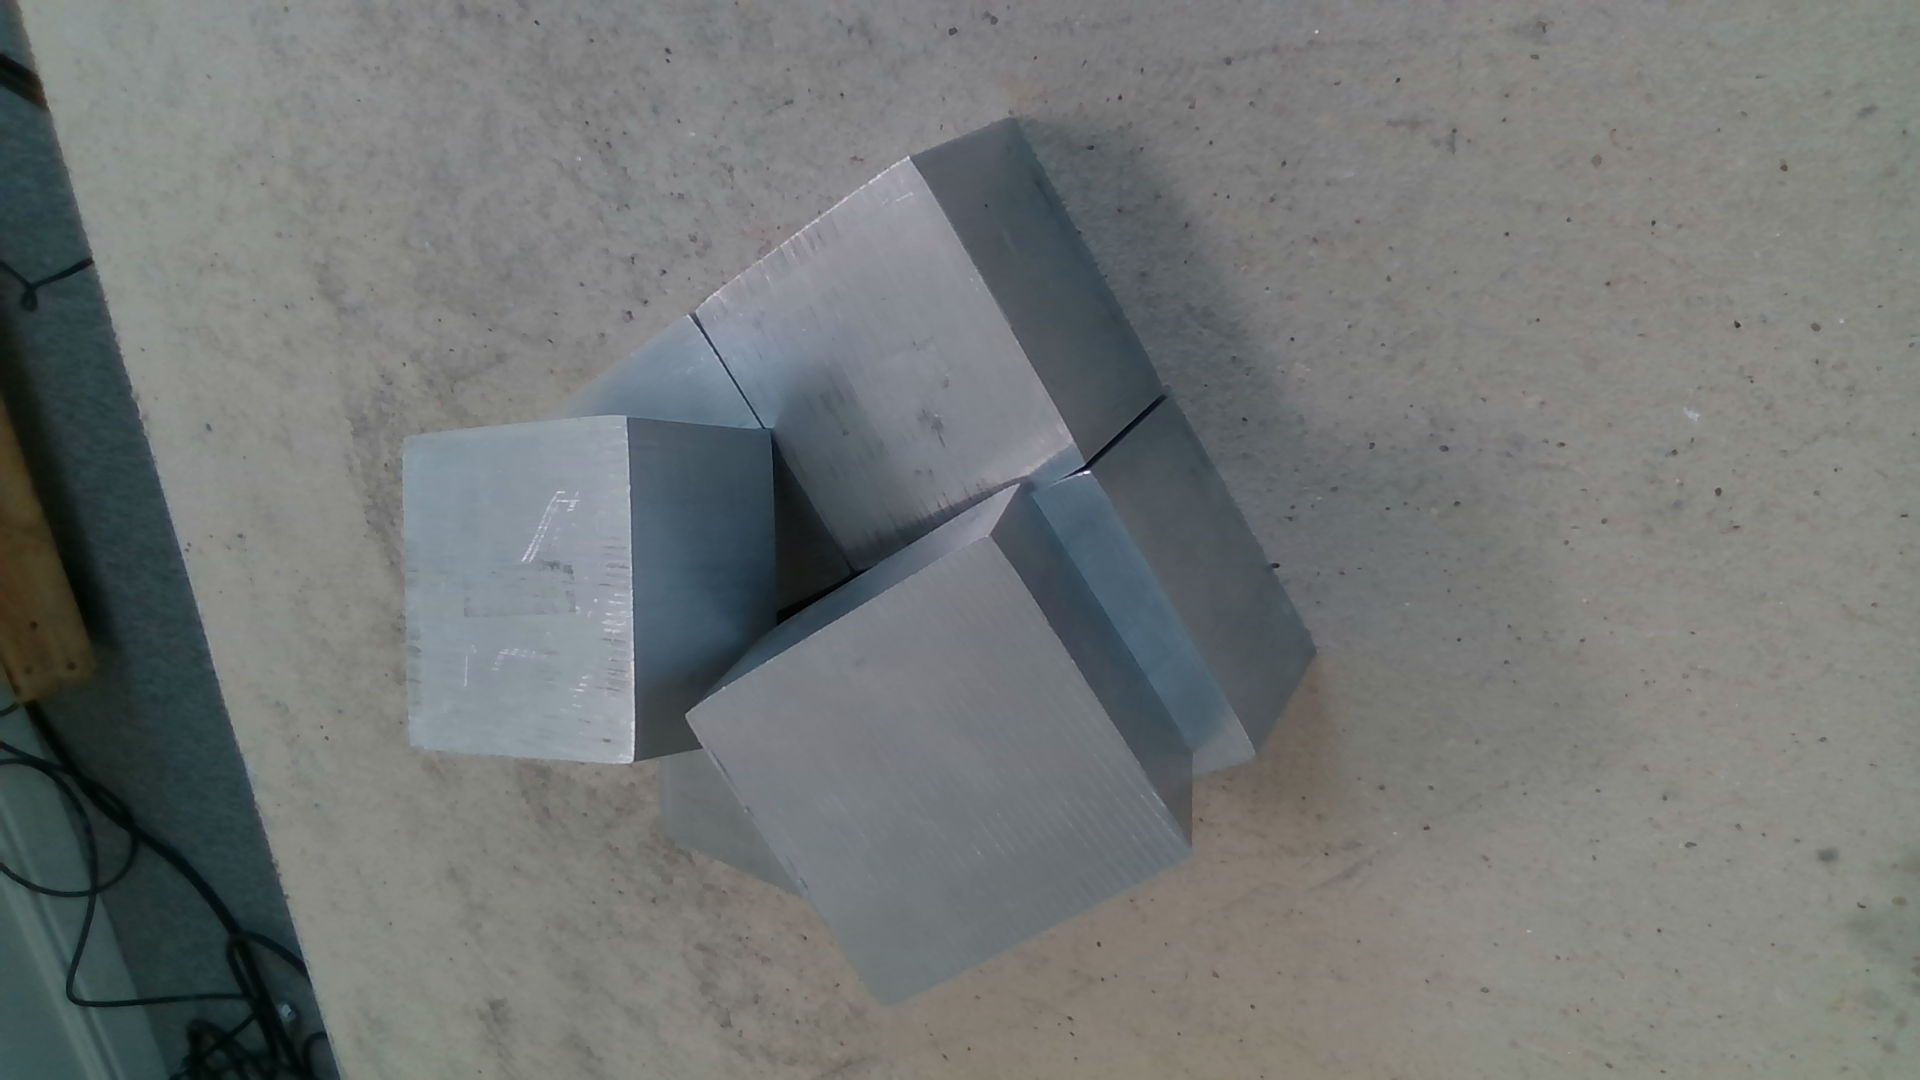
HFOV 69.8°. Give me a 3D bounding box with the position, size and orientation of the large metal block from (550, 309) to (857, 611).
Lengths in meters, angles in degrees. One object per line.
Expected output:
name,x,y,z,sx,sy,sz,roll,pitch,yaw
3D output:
large metal block,-0.064,-0.022,0.402,0.080,0.050,0.080,-25,101,38

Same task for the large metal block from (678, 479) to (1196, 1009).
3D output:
large metal block,-0.002,0.045,0.314,0.080,0.050,0.080,-31,98,16

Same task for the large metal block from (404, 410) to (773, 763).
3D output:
large metal block,-0.095,0.011,0.354,0.080,0.050,0.080,-2,89,33

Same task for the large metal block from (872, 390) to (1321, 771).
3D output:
large metal block,0.034,0.020,0.361,0.080,0.050,0.080,-25,102,38

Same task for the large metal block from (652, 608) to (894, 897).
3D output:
large metal block,-0.034,0.058,0.407,0.080,0.080,0.050,18,123,23

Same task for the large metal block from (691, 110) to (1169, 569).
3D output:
large metal block,-0.008,-0.049,0.352,0.080,0.050,0.080,-25,101,39
